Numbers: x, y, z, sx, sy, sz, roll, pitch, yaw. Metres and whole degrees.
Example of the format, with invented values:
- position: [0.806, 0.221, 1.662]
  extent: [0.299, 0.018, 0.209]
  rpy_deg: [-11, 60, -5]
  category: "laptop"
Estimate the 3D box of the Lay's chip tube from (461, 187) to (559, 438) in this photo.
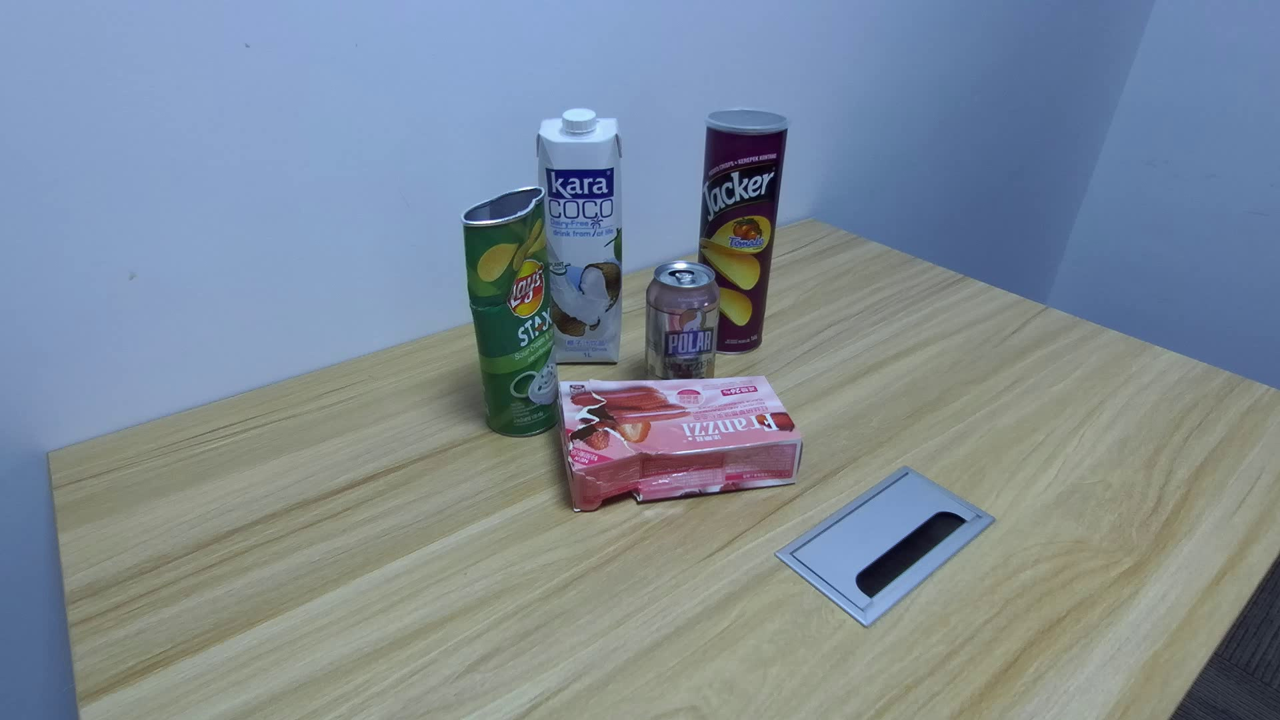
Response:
- position: [-0.105, -0.035, 0.597]
  extent: [0.069, 0.199, 0.074]
  rpy_deg: [-6, 32, -11]
  category: "Lay's chip tube"

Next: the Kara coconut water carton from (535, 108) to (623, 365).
- position: [-0.055, -0.115, 0.682]
  extent: [0.077, 0.245, 0.075]
  rpy_deg: [0, 30, -1]
  category: "Kara coconut water carton"

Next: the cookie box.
- position: [0.030, 0.058, 0.578]
  extent: [0.186, 0.059, 0.104]
  rpy_deg: [-5, 35, -11]
  category: "cookie box"

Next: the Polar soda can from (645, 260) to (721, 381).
- position: [0.039, -0.025, 0.652]
  extent: [0.067, 0.126, 0.067]
  rpy_deg: [0, 32, 0]
  category: "Polar soda can"

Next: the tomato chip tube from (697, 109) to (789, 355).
- position: [0.098, -0.124, 0.712]
  extent: [0.078, 0.234, 0.078]
  rpy_deg: [1, 32, 0]
  category: "tomato chip tube"
